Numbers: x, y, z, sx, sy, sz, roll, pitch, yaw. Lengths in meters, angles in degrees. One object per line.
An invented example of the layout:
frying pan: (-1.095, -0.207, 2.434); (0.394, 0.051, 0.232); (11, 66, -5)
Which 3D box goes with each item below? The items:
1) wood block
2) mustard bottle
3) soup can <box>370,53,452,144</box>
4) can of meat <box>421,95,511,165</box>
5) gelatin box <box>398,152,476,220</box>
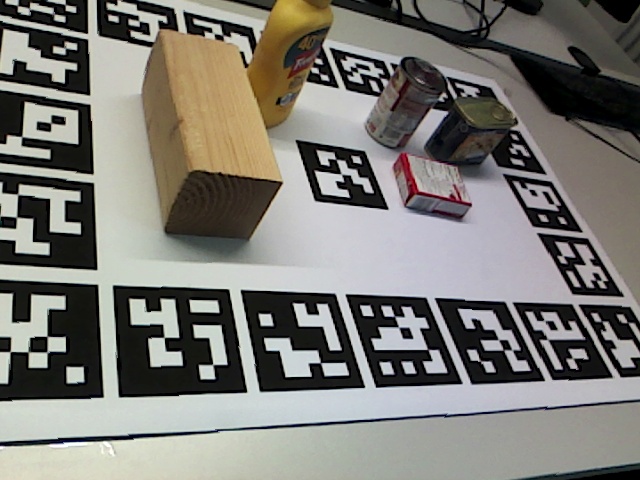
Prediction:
wood block: (-0.115, -0.109, 0.634); (0.090, 0.090, 0.207); (6, 44, -29)
mustard bottle: (-0.037, -0.213, 0.710); (0.096, 0.192, 0.058); (-22, 64, -44)
soup can: (0.119, -0.187, 0.825); (0.067, 0.102, 0.068); (16, 46, -18)
can of meat: (0.202, -0.151, 0.870); (0.101, 0.084, 0.058); (-8, 57, -39)
gelatin box: (0.150, -0.069, 0.794); (0.089, 0.030, 0.073); (11, 48, -19)
